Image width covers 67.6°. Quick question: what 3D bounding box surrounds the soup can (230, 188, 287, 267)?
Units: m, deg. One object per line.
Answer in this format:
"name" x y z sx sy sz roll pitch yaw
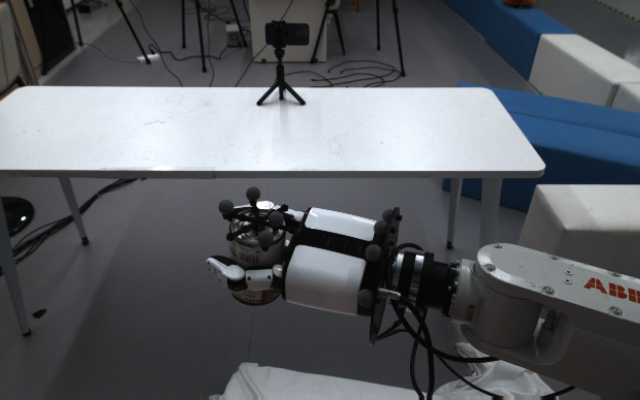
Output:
"soup can" -0.075 0.070 0.588 0.067 0.101 0.067 5 37 -4
